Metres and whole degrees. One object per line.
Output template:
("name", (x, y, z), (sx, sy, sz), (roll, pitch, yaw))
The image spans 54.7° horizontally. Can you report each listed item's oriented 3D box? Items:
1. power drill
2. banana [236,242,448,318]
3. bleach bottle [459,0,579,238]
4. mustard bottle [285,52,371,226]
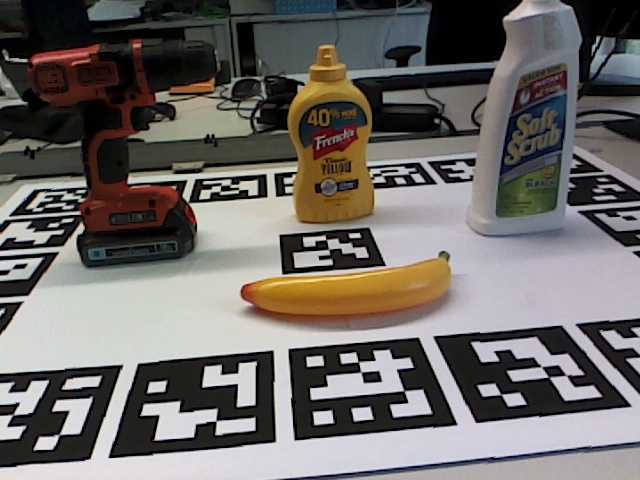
("power drill", (-0.176, -0.107, 0.633), (0.184, 0.186, 0.057), (-10, 26, -7))
("banana", (0.027, 0.038, 0.533), (0.197, 0.039, 0.074), (-9, 28, -7))
("bleach bottle", (0.204, -0.128, 0.637), (0.103, 0.250, 0.068), (0, 25, 4))
("mustard bottle", (0.009, -0.113, 0.698), (0.096, 0.191, 0.059), (-6, 26, -11))
